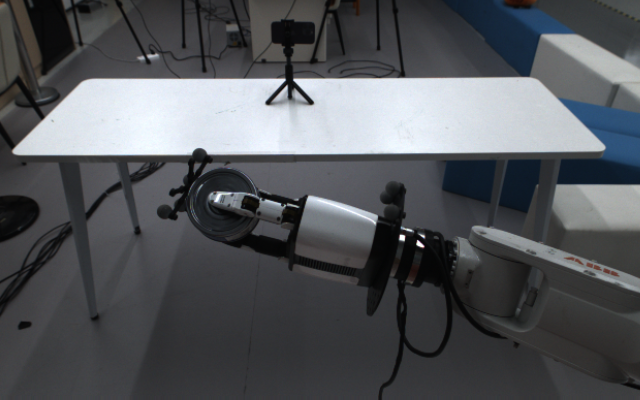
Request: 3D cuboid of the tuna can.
[{"bbox_3d":[-0.108,0.011,0.571,0.085,0.034,0.085,0,75,-2],"label":"tuna can"}]
